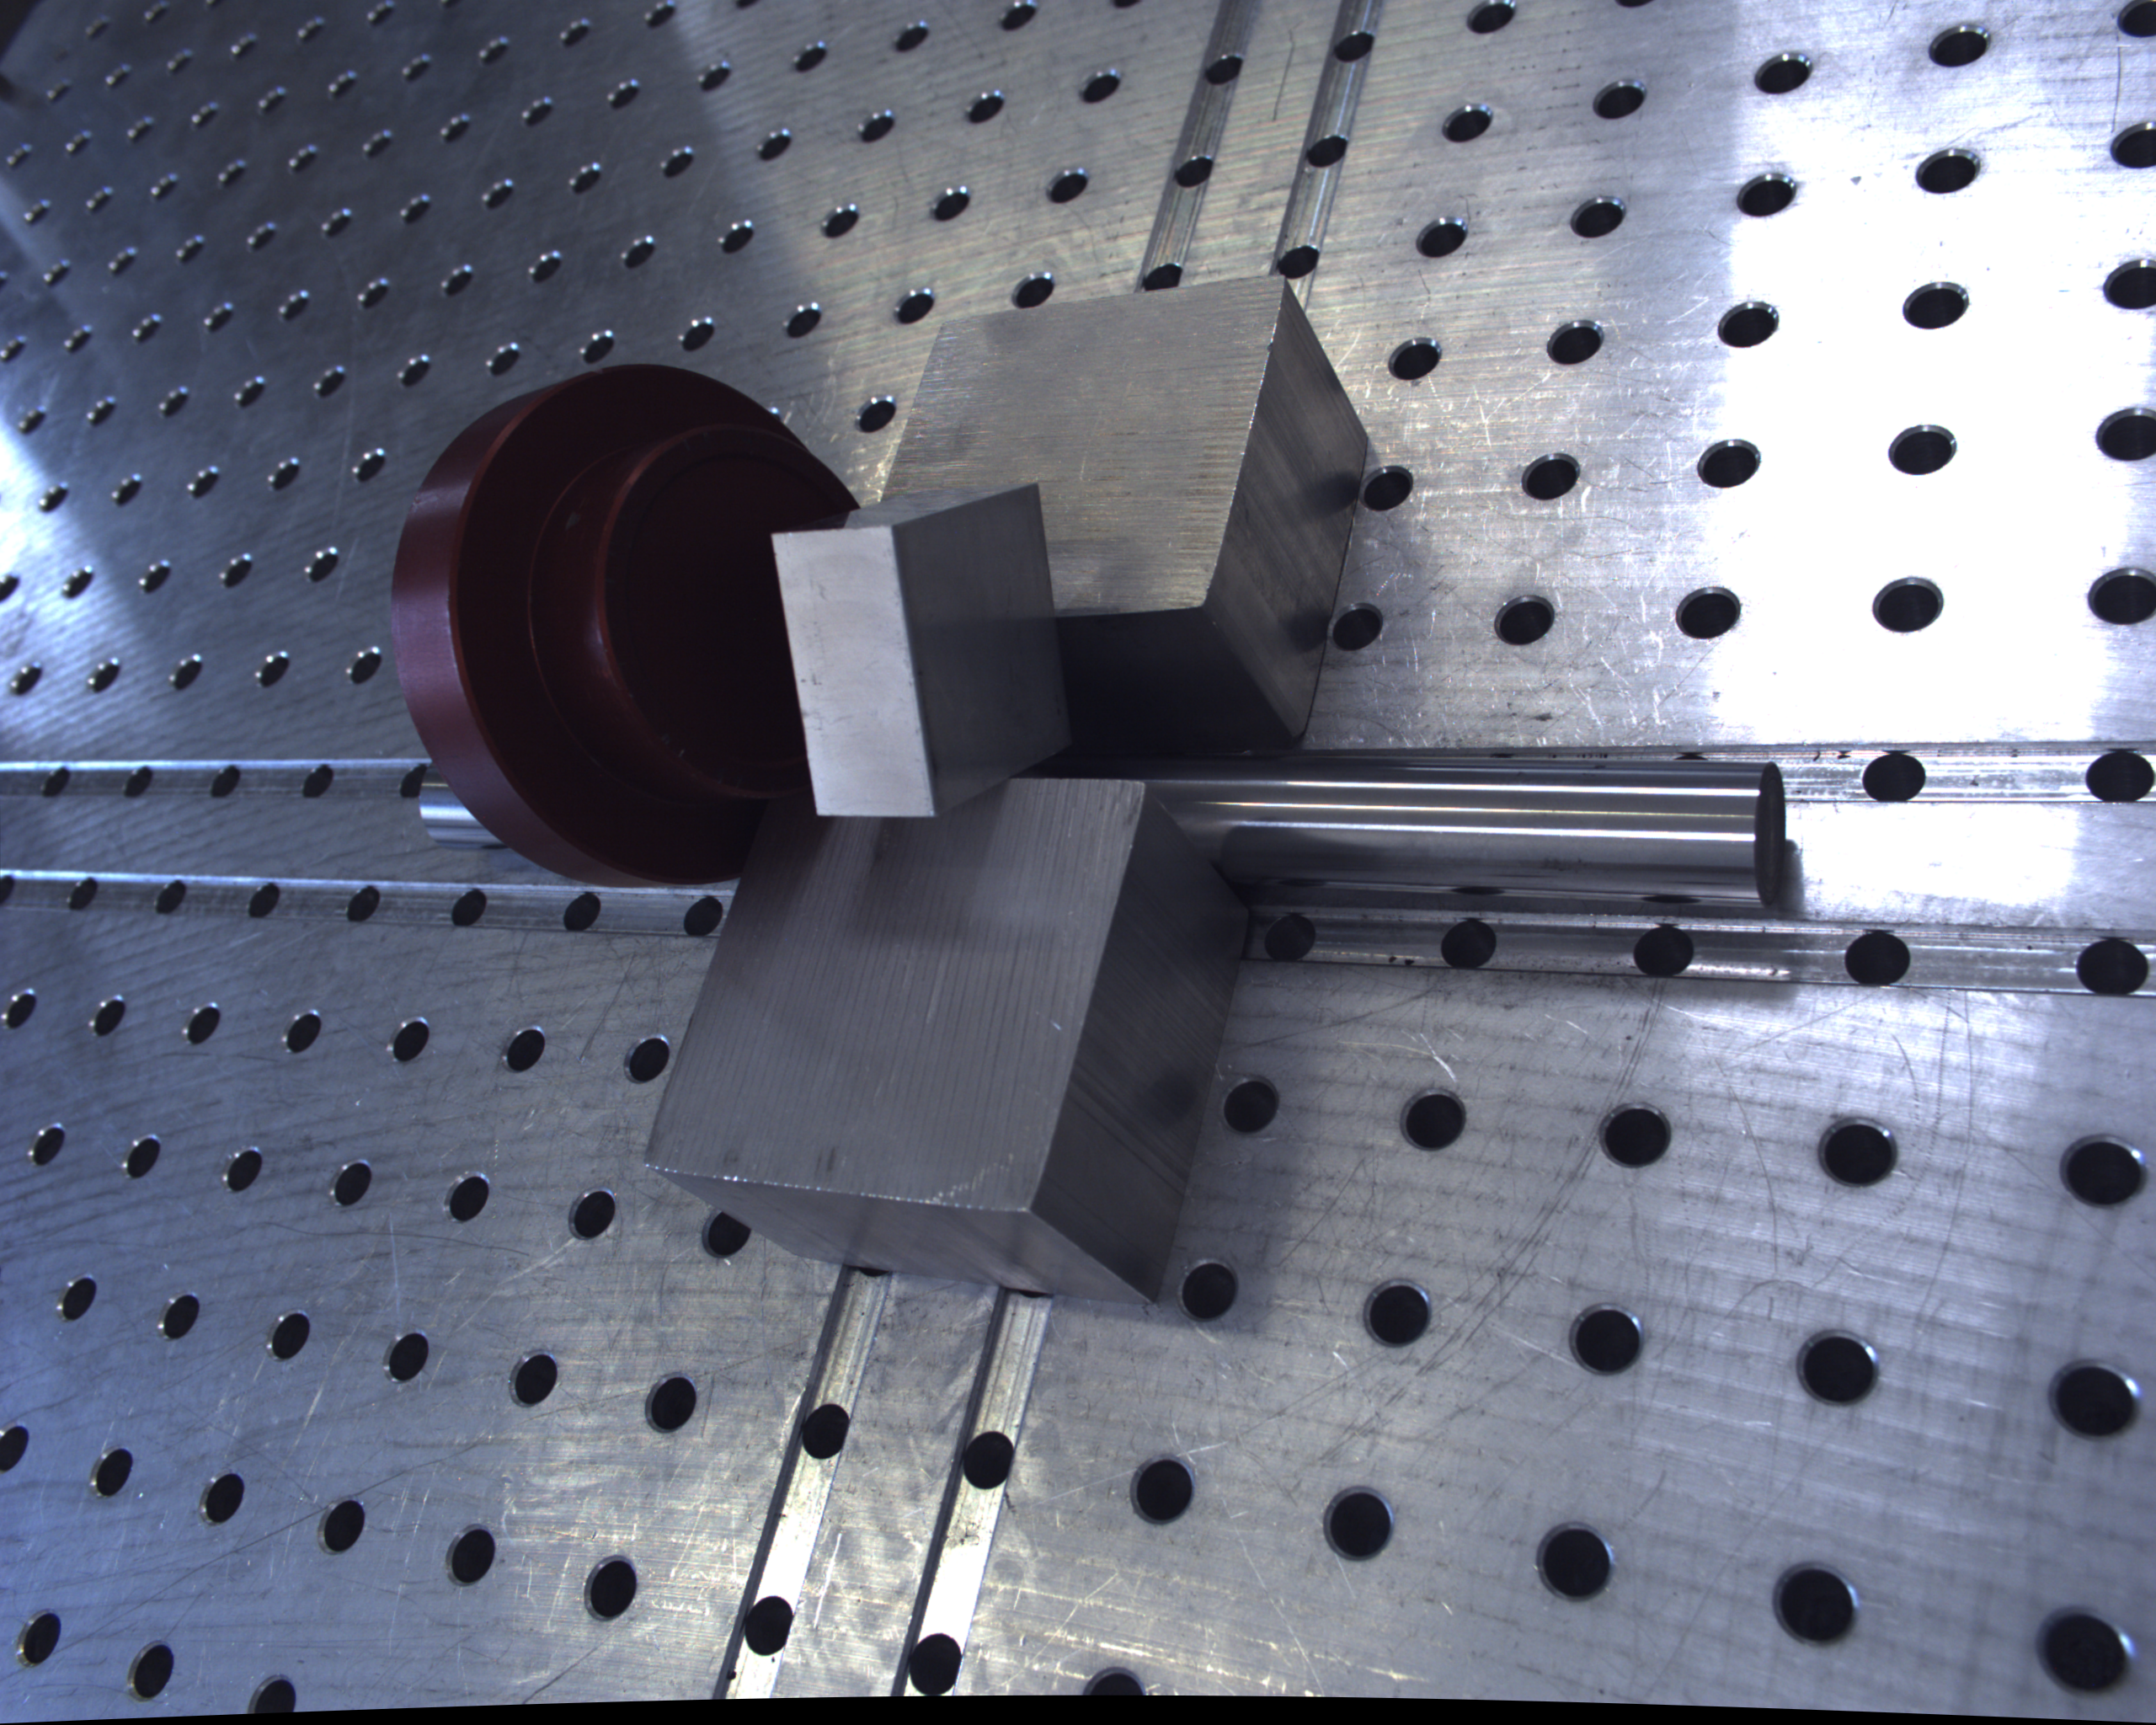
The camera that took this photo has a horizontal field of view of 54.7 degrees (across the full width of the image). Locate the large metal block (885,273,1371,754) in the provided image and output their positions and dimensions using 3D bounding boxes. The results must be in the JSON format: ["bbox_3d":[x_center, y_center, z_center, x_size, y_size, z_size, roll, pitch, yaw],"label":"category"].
[{"bbox_3d":[0.008,-0.069,0.431,0.080,0.050,0.080,1,62,28],"label":"large metal block"}]

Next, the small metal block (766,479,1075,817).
[{"bbox_3d":[-0.027,-0.039,0.374,0.025,0.050,0.050,1,18,29],"label":"small metal block"}]

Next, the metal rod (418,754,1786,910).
[{"bbox_3d":[-0.015,-0.010,0.422,0.300,0.025,0.025,2,63,29],"label":"metal rod"}]

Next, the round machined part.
[{"bbox_3d":[-0.073,-0.045,0.390,0.042,0.098,0.098,-4,59,43],"label":"round machined part"}]

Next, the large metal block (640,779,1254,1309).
[{"bbox_3d":[-0.022,0.031,0.385,0.080,0.050,0.080,1,62,29],"label":"large metal block"}]
